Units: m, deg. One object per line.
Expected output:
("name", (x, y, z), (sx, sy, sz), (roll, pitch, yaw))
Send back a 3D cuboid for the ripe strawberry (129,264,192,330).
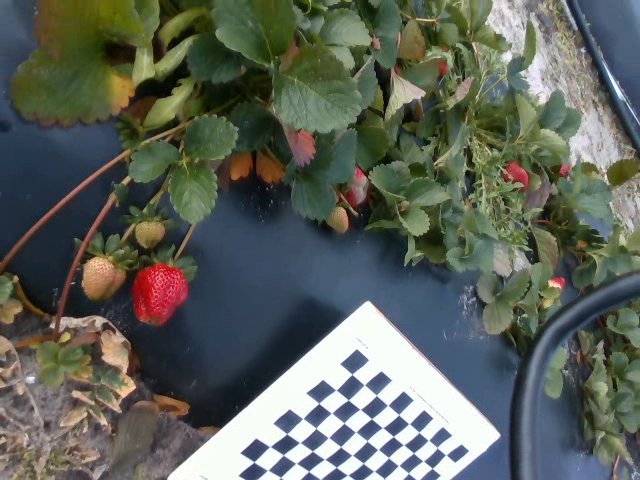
("ripe strawberry", (-0.145, 0.053, 0.556), (0.066, 0.075, 0.053), (23, 17, -31))
